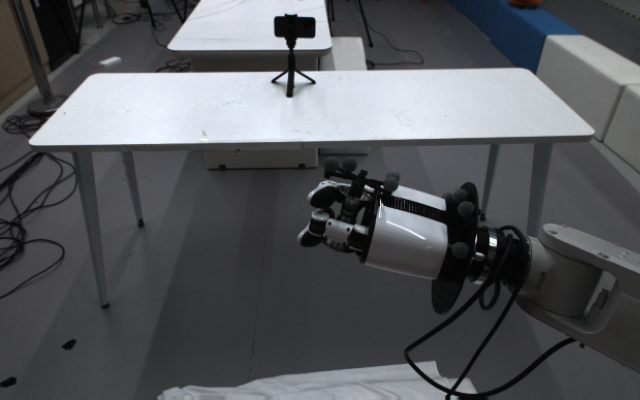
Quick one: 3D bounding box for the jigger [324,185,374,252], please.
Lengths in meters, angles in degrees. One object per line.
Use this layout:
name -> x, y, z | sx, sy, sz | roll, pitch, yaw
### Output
jigger -> 0.035, 0.023, 0.577 | 0.043, 0.071, 0.043 | 15, 17, -5
